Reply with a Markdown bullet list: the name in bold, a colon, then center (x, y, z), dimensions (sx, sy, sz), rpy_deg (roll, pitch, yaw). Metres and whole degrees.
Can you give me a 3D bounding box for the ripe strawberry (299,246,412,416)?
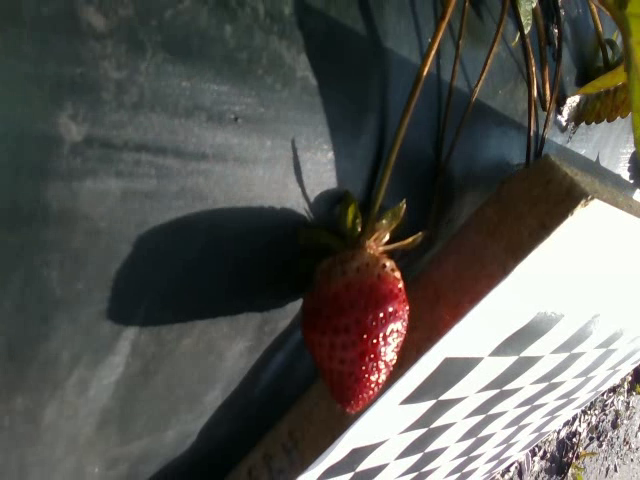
- **ripe strawberry**: center (0.007, 0.020, 0.128), dimensions (0.033, 0.038, 0.034), rpy_deg (-9, -12, 43)
